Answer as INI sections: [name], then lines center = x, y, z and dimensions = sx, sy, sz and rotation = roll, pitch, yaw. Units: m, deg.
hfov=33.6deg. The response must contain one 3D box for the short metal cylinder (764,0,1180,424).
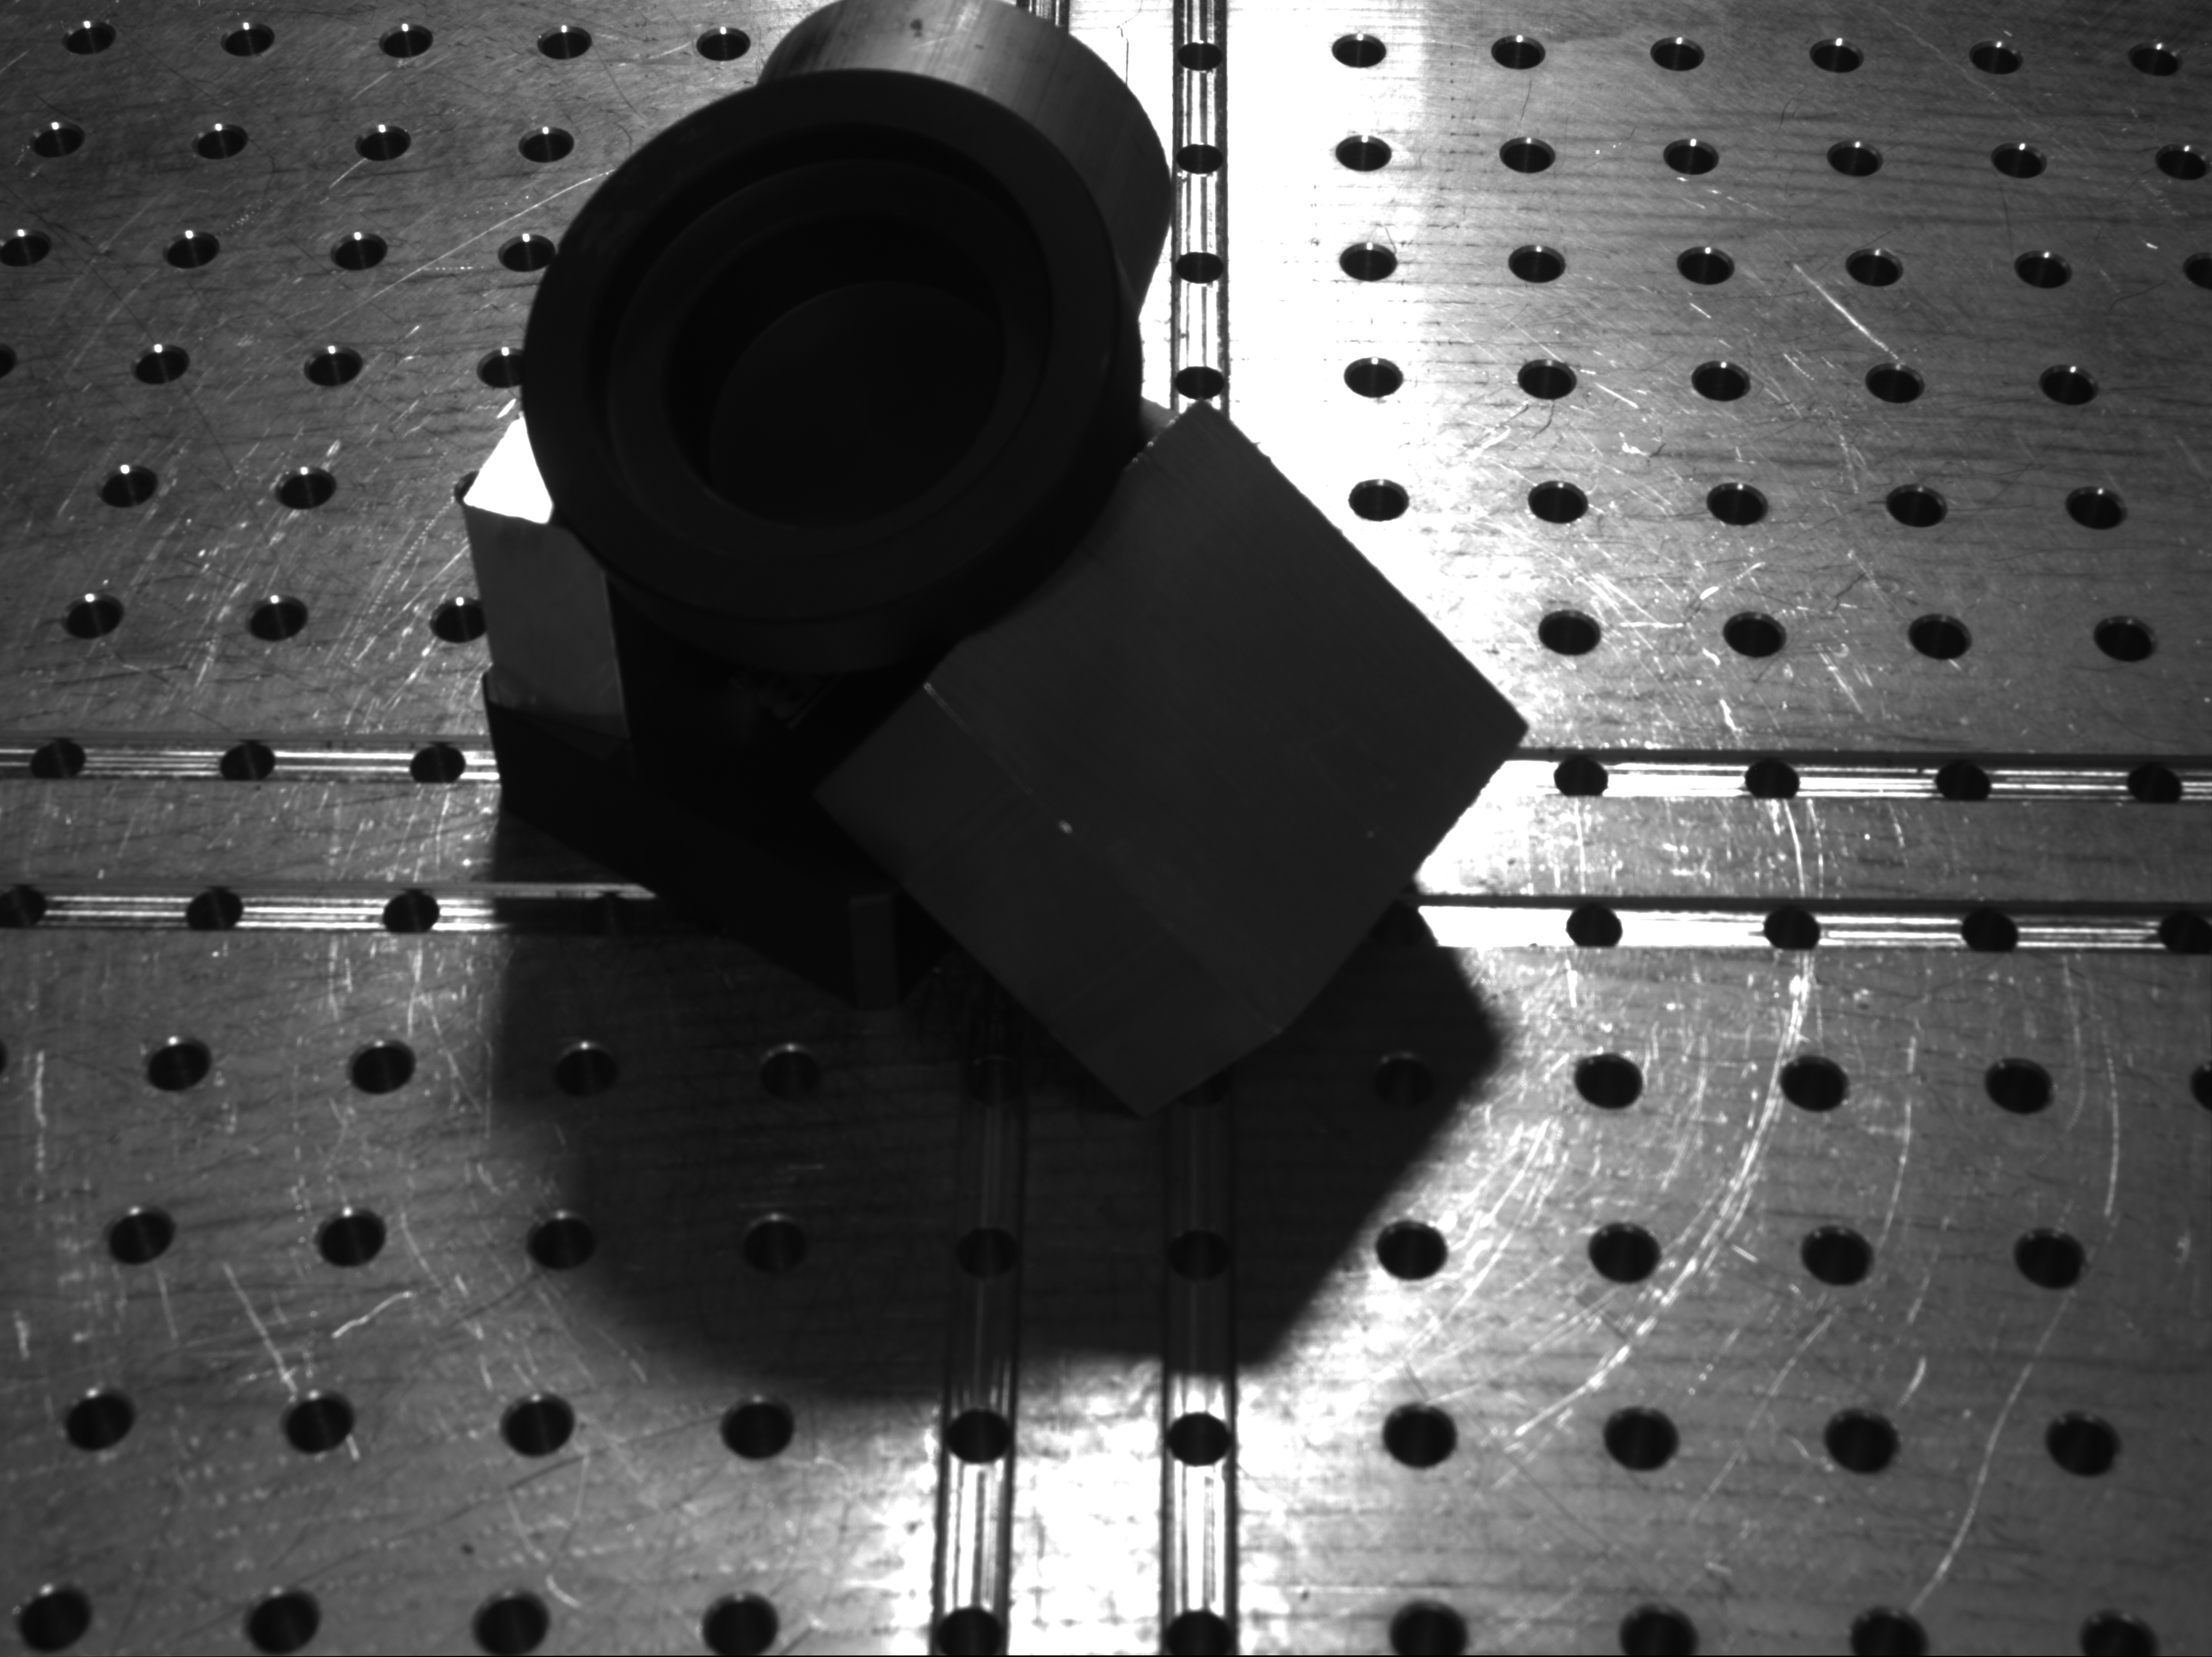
[short metal cylinder]
center = -0.031, -0.103, 0.656
dimensions = 0.080, 0.080, 0.050
rotation = 10, 51, 9

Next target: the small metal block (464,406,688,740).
[small metal block]
center = -0.085, -0.053, 0.632
dimensions = 0.025, 0.050, 0.050
rotation = 15, 51, 12

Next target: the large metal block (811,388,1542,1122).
[large metal block]
center = 0.012, -0.012, 0.615
dimensions = 0.080, 0.050, 0.080
rotation = 45, 58, -4

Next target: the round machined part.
[round machined part]
center = -0.041, -0.070, 0.596
dimensions = 0.098, 0.042, 0.098
rotation = -4, 69, 11

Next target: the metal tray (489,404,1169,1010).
[metal tray]
center = -0.038, -0.036, 0.673
dimensions = 0.090, 0.030, 0.130
rotation = 28, 55, 21
